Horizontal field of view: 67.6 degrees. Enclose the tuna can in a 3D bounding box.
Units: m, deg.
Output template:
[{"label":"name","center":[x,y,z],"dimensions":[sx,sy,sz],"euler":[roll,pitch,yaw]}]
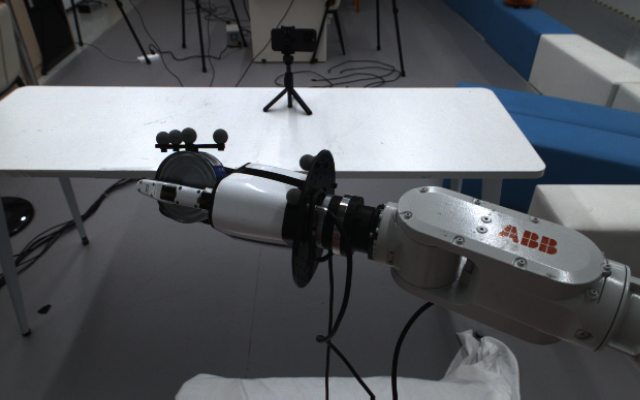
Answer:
[{"label":"tuna can","center":[-0.152,-0.016,0.583],"dimensions":[0.085,0.085,0.034],"euler":[15,9,18]}]
